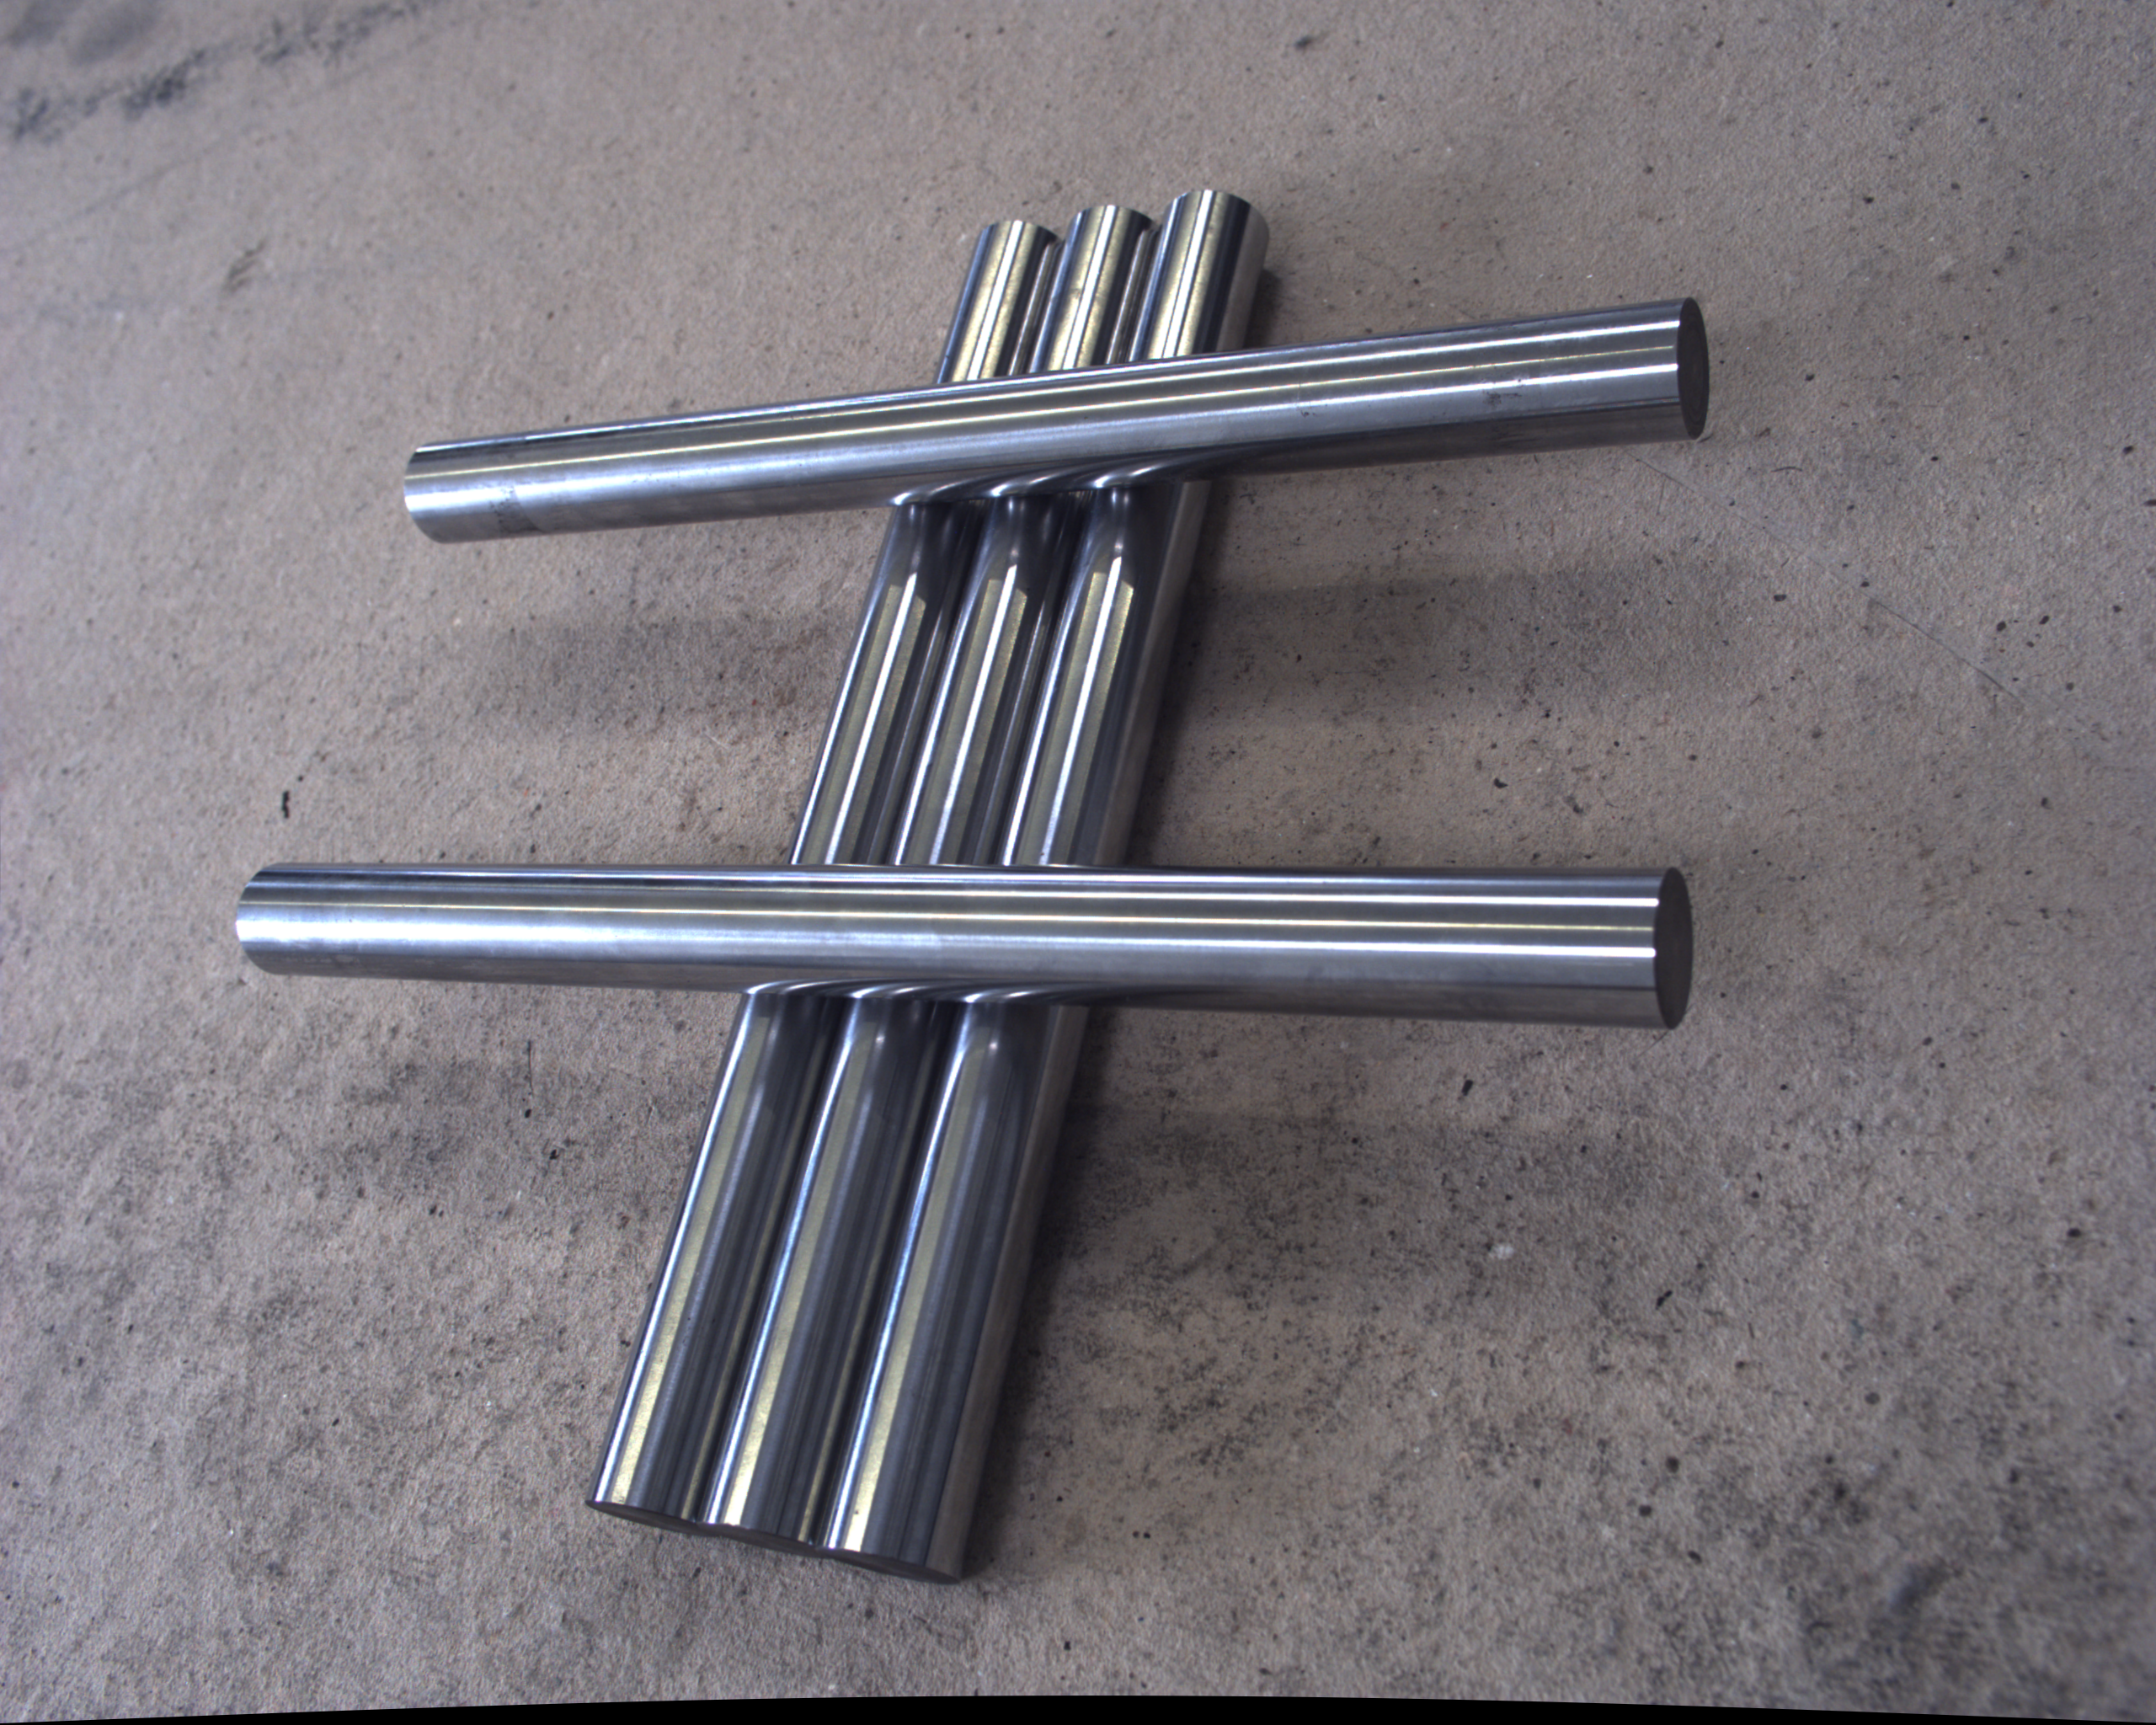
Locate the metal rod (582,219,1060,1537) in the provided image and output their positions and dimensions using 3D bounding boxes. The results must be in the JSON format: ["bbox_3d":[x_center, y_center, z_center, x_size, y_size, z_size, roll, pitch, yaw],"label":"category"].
[{"bbox_3d":[-0.045,-0.014,0.438,0.025,0.025,0.300,-1,61,28],"label":"metal rod"}]

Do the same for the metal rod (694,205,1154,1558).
[{"bbox_3d":[-0.023,-0.014,0.426,0.025,0.025,0.300,-1,61,28],"label":"metal rod"}]

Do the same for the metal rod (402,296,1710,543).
[{"bbox_3d":[-0.023,-0.089,0.440,0.300,0.025,0.025,1,62,28],"label":"metal rod"}]

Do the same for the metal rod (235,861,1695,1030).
[{"bbox_3d":[-0.042,0.013,0.388,0.300,0.025,0.025,0,62,28],"label":"metal rod"}]

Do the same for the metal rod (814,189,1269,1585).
[{"bbox_3d":[0.000,-0.014,0.414,0.025,0.025,0.300,-1,61,28],"label":"metal rod"}]
